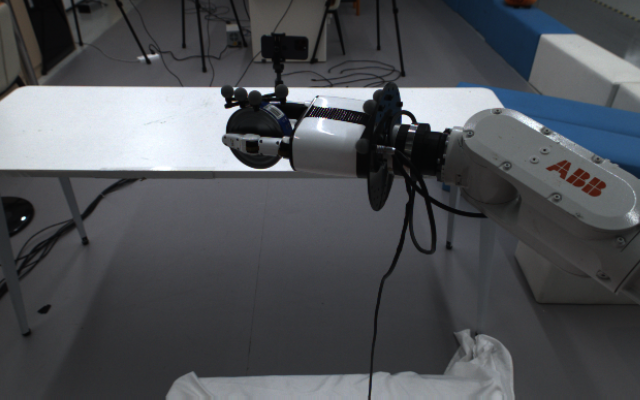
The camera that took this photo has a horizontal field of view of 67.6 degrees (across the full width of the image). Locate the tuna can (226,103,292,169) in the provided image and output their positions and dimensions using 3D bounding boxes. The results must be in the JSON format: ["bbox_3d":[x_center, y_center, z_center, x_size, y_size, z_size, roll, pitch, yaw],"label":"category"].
[{"bbox_3d":[-0.080,-0.088,0.649,0.085,0.085,0.034,14,29,17],"label":"tuna can"}]
